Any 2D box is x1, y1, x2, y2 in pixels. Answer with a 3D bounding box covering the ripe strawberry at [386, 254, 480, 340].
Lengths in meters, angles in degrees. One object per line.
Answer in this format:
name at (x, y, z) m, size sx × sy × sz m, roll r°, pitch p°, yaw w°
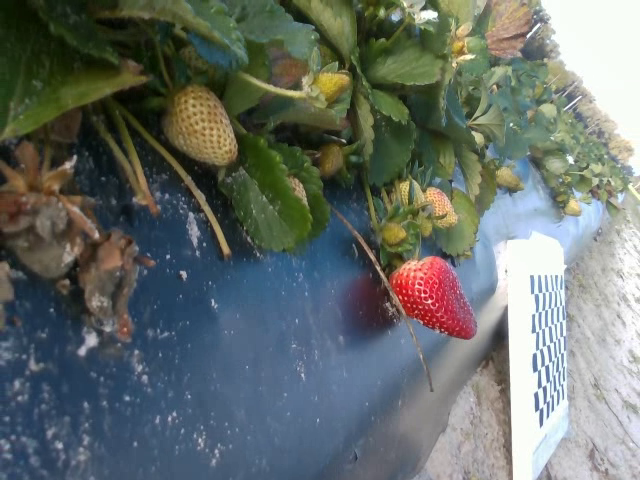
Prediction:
ripe strawberry at (0.082, 0.039, 0.406) m, size 0.068 × 0.045 × 0.052 m, roll 48°, pitch 22°, yaw 19°
